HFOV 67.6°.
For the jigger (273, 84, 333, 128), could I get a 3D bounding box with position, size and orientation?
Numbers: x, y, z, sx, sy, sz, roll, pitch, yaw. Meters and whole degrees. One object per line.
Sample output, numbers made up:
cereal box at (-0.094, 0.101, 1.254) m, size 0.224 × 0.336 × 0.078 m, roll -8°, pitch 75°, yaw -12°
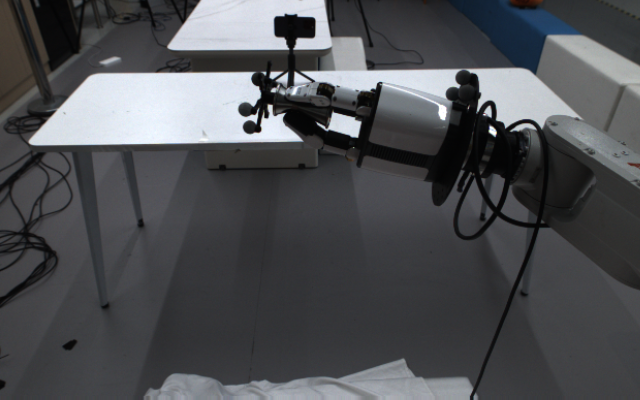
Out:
jigger at (-0.017, -0.120, 0.592) m, size 0.071 × 0.043 × 0.043 m, roll 13°, pitch 36°, yaw 4°
